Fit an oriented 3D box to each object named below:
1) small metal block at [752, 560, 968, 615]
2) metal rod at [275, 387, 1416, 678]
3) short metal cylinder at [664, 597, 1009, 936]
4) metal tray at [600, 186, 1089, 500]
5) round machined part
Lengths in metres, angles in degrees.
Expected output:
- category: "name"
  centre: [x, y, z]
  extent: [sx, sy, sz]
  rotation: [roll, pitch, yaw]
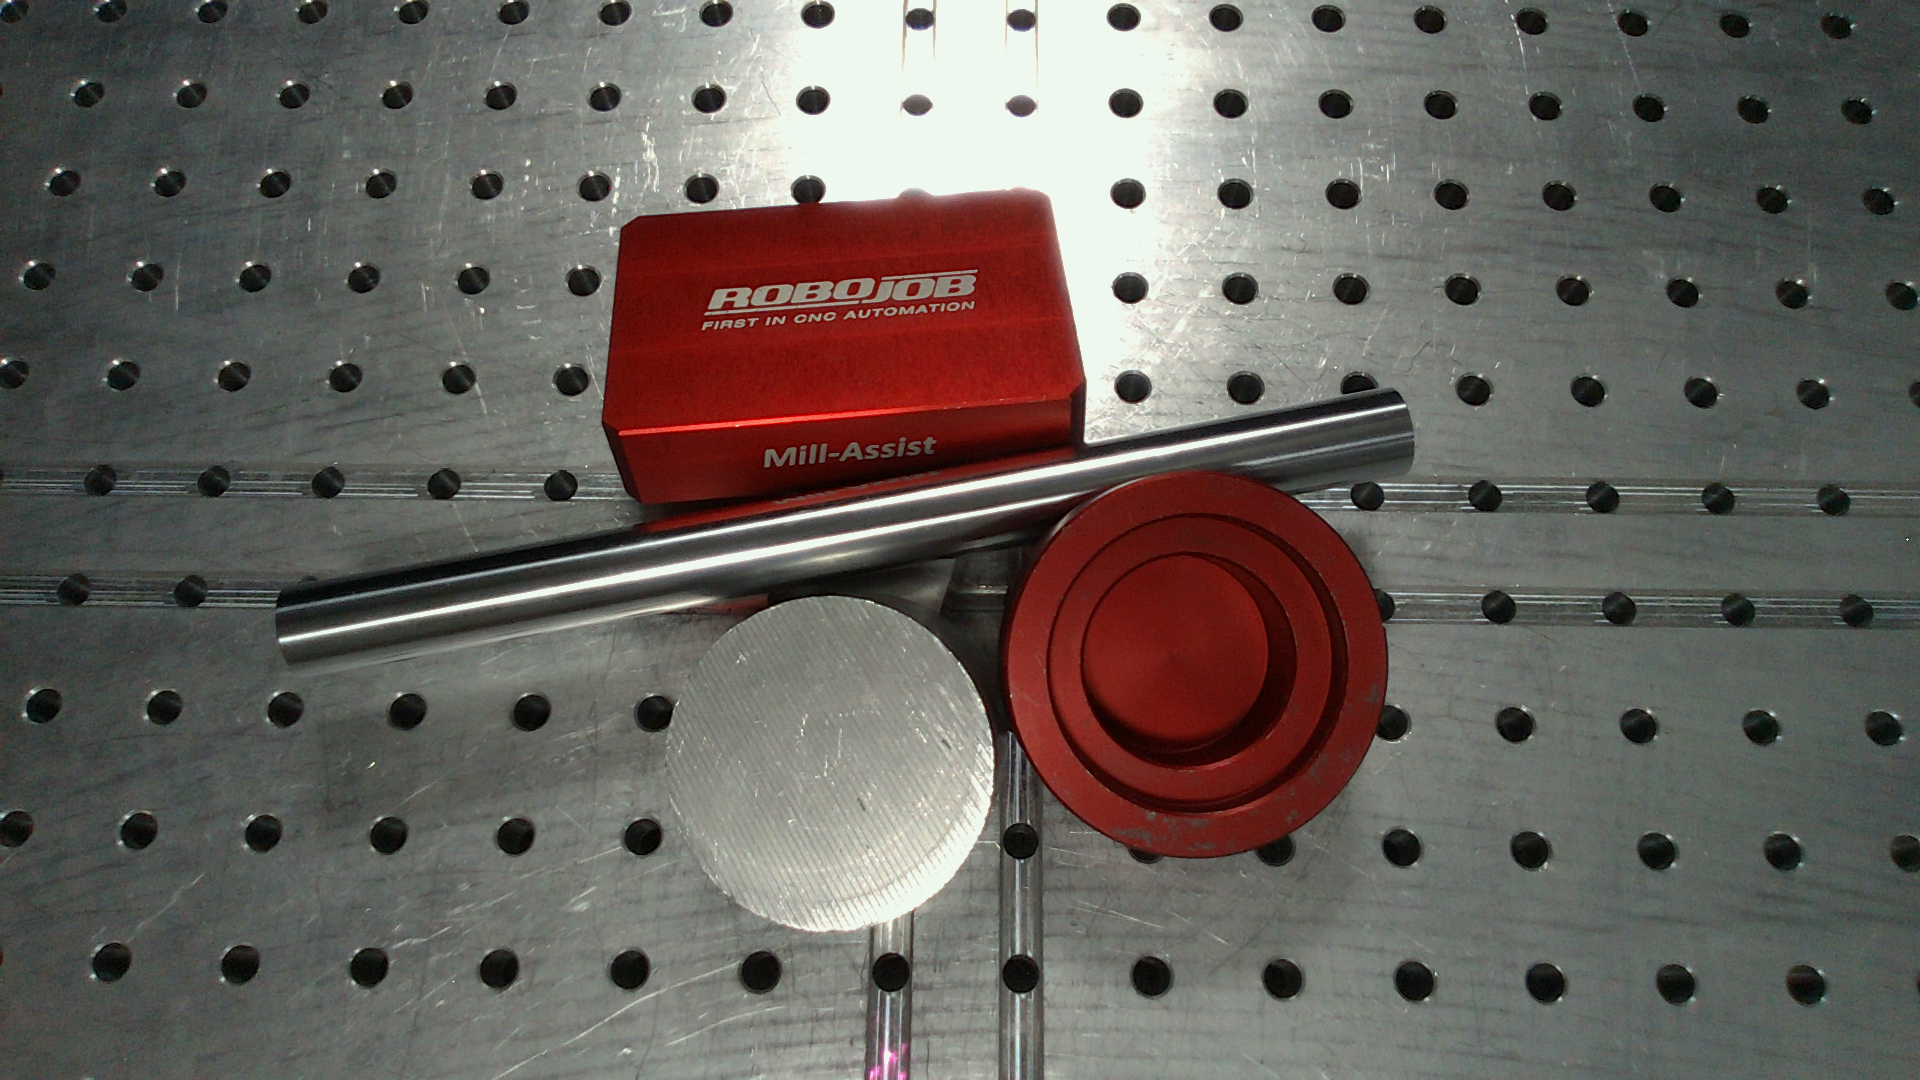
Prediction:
- category: "small metal block"
  centre: [-0.029, 0.016, 0.400]
  extent: [0.050, 0.025, 0.050]
  rotation: [17, 71, 6]
- category: "metal rod"
  centre: [-0.026, -0.003, 0.371]
  extent: [0.300, 0.025, 0.025]
  rotation: [-10, 70, -4]
- category: "short metal cylinder"
  centre: [-0.029, 0.054, 0.351]
  extent: [0.080, 0.050, 0.080]
  rotation: [0, 88, 5]
- category: "metal tray"
  centre: [-0.033, -0.060, 0.401]
  extent: [0.130, 0.030, 0.090]
  rotation: [-5, 51, -2]
- category: "round machined part"
  centre: [0.059, 0.031, 0.365]
  extent: [0.098, 0.042, 0.098]
  rotation: [0, 92, -4]
